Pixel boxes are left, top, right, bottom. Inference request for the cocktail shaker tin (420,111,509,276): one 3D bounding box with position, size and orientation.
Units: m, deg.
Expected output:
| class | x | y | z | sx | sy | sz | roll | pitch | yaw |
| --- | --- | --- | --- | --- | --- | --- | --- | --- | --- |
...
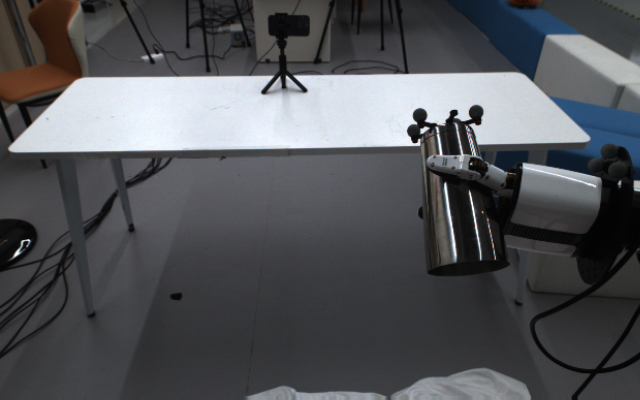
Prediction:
| class | x | y | z | sx | sy | sz | roll | pitch | yaw |
| --- | --- | --- | --- | --- | --- | --- | --- | --- | --- |
| cocktail shaker tin | 0.164 | -0.001 | 0.578 | 0.093 | 0.093 | 0.170 | -2 | 71 | -6 |
